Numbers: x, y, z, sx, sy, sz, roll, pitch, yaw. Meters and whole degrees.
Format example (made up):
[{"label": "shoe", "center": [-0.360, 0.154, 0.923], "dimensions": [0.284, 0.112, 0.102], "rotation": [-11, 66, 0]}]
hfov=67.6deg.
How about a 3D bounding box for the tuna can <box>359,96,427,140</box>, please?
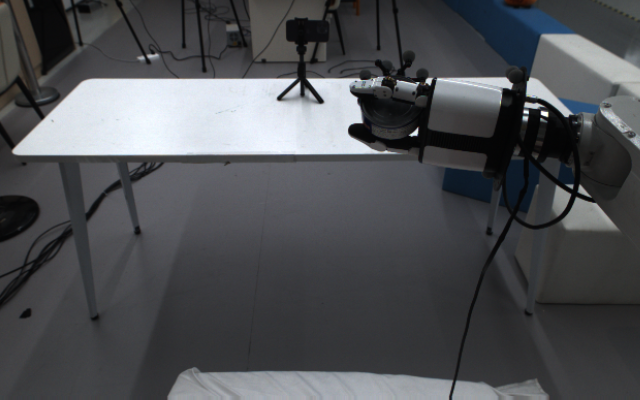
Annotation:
[{"label": "tuna can", "center": [0.099, -0.121, 0.654], "dimensions": [0.085, 0.034, 0.085], "rotation": [-3, 62, 6]}]
